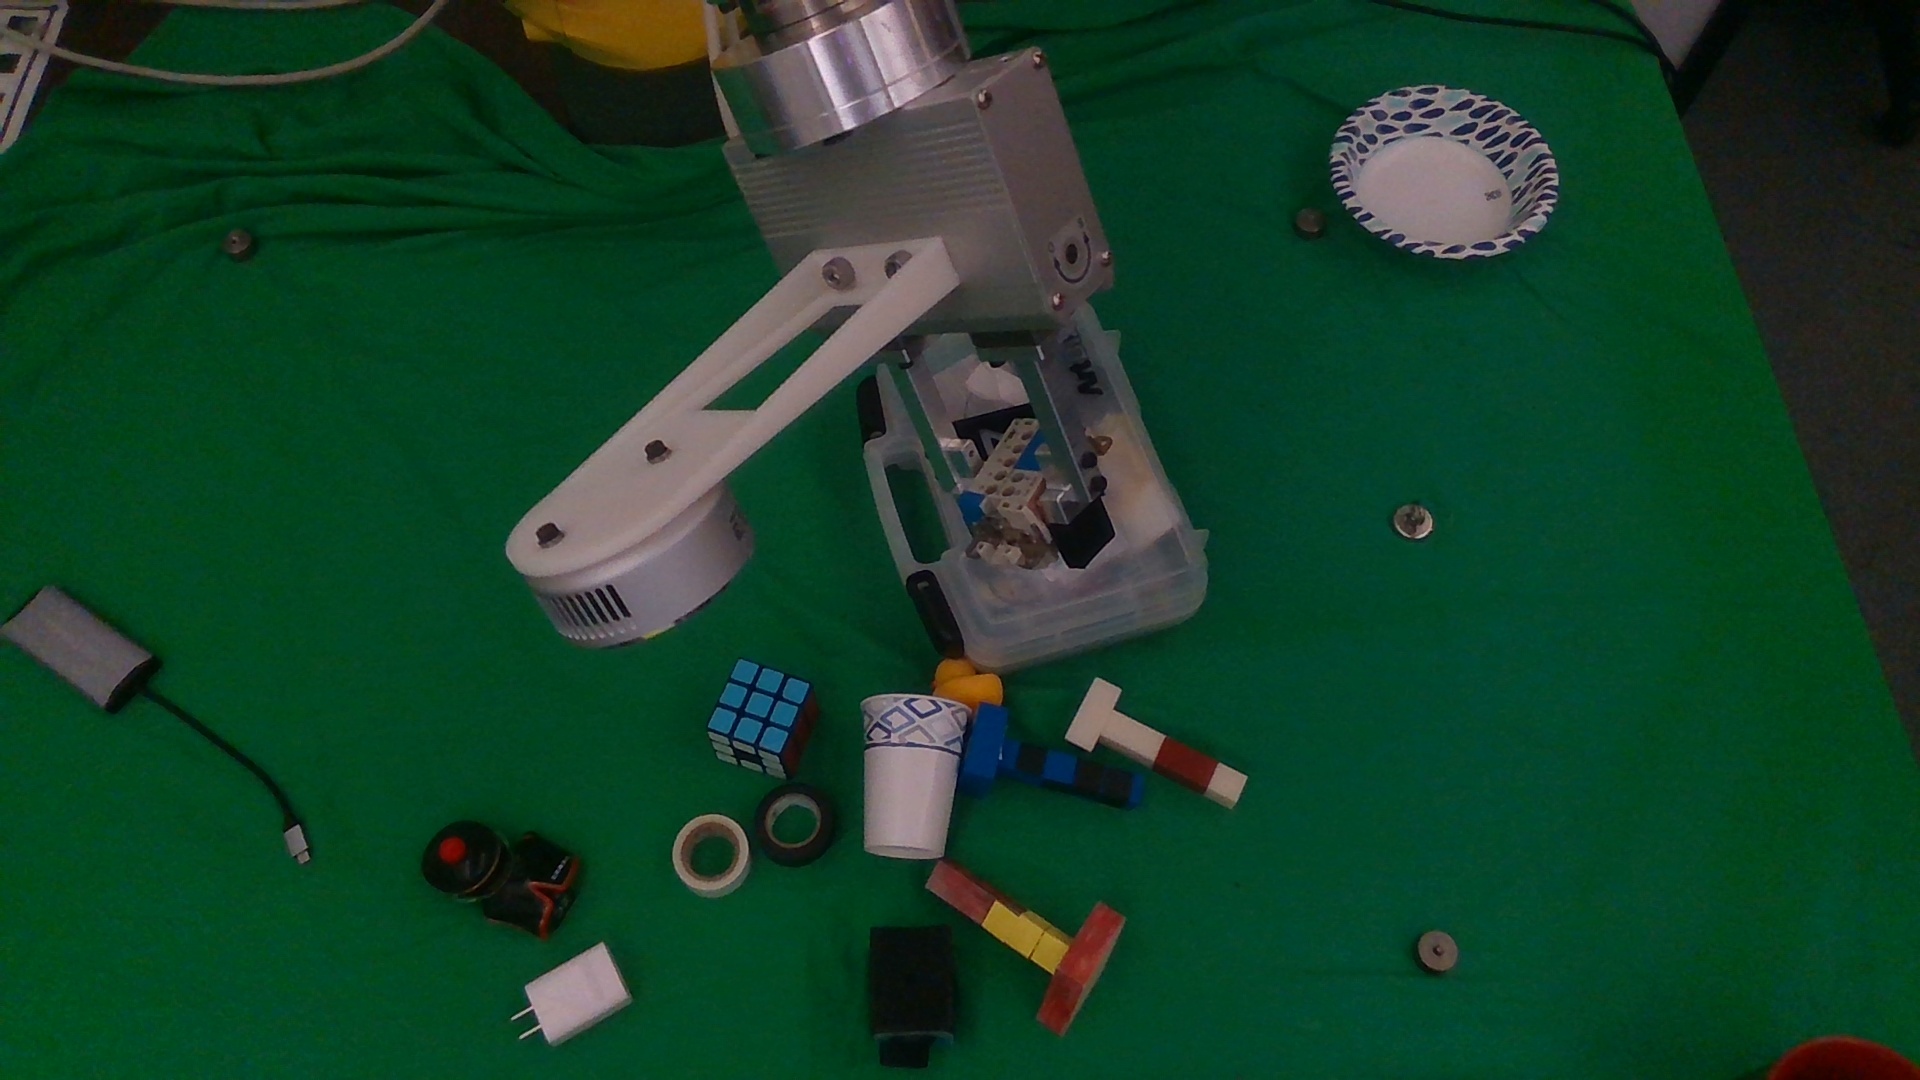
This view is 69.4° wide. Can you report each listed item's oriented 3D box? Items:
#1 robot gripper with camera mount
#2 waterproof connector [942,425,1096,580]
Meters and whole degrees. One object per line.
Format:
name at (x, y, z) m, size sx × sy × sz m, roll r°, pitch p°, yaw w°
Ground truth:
robot gripper with camera mount at (-0.044, -0.013, 0.438) m, size 0.119 × 0.158 × 0.193 m, roll 2°, pitch 40°, yaw 46°
waterproof connector at (0.023, -0.014, 0.509) m, size 0.035 × 0.037 × 0.065 m, roll 5°, pitch 51°, yaw 42°
